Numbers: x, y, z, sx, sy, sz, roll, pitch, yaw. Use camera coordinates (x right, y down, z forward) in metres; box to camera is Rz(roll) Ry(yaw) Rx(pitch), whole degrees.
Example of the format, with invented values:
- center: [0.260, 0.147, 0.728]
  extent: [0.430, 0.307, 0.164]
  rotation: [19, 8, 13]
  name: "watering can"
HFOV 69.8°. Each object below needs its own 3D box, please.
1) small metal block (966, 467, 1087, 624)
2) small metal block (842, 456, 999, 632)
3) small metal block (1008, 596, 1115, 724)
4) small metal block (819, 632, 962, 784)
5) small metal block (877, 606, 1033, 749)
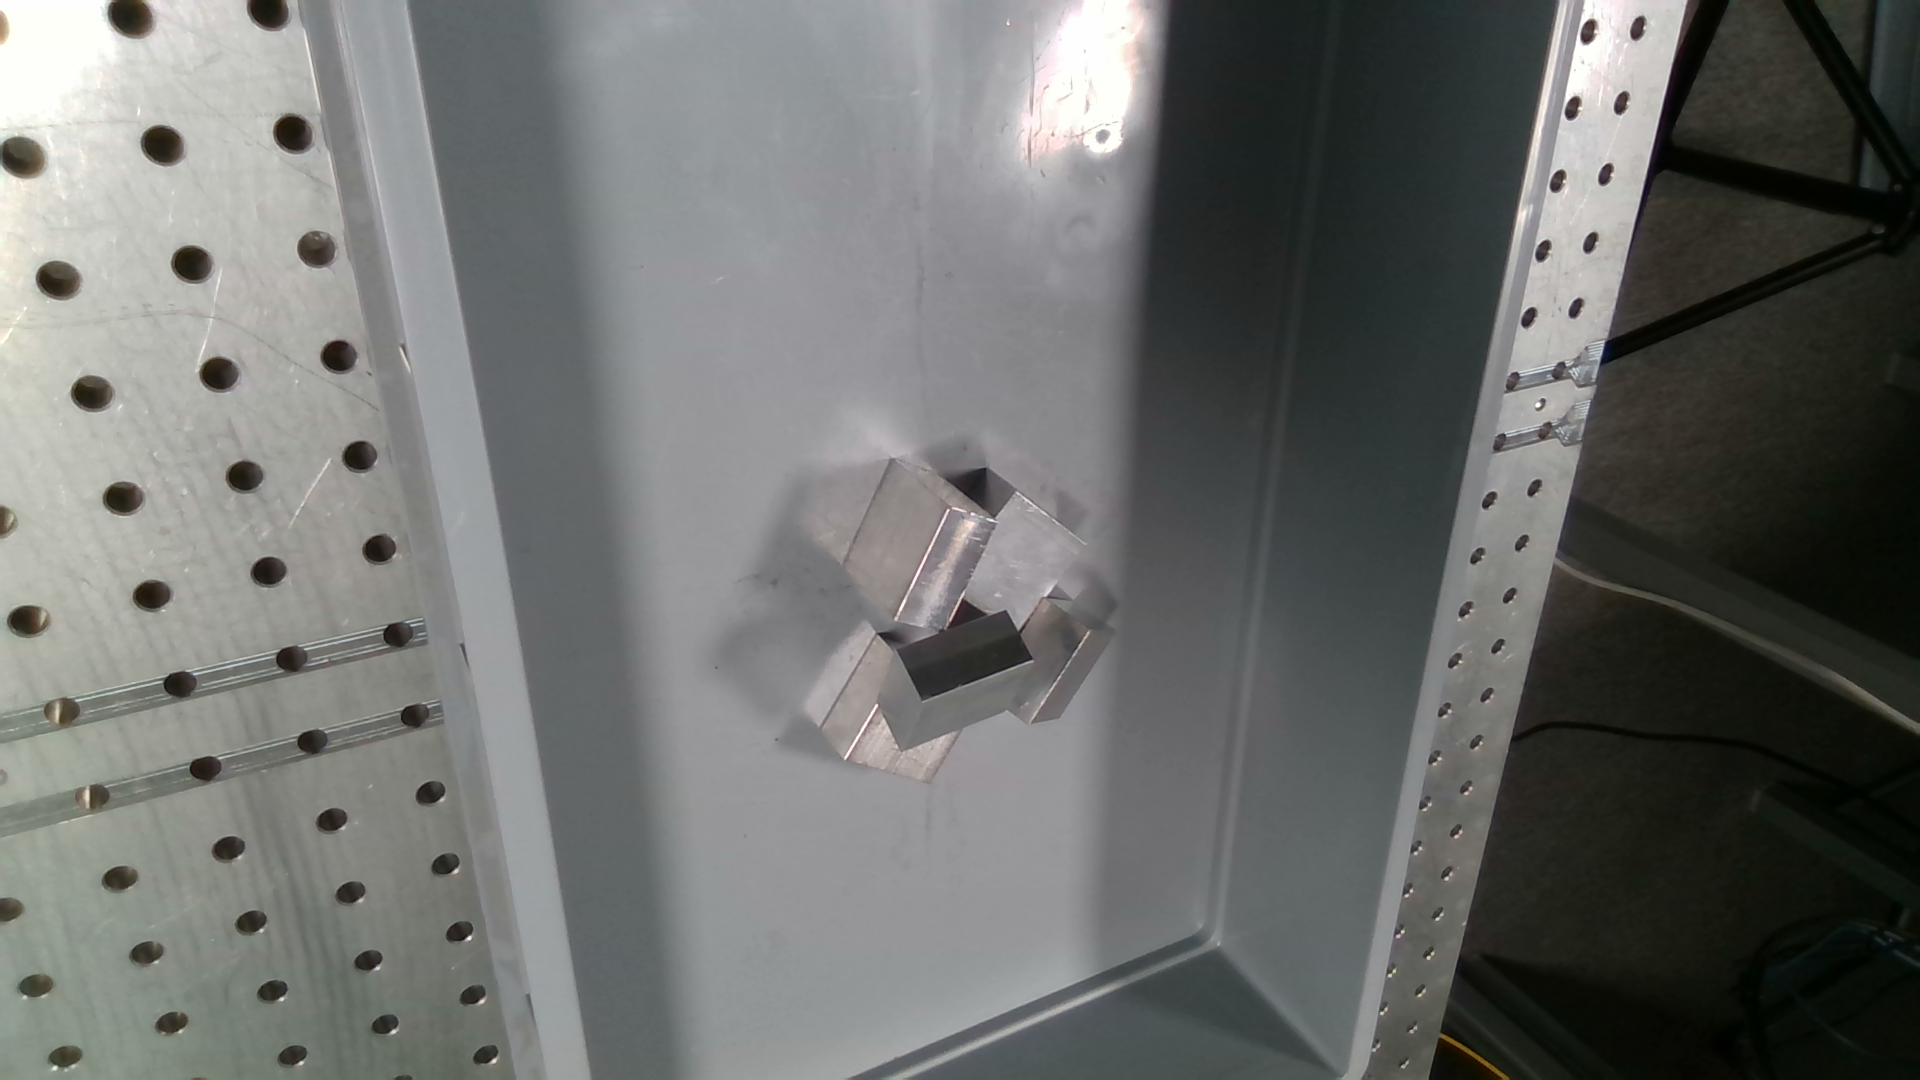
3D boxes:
- center: [0.018, 0.005, 0.591]
  extent: [0.050, 0.025, 0.050]
  rotation: [35, 94, -39]
  name: "small metal block"
- center: [-0.017, 0.001, 0.552]
  extent: [0.025, 0.050, 0.050]
  rotation: [17, 105, -37]
  name: "small metal block"
- center: [0.041, 0.054, 0.619]
  extent: [0.050, 0.025, 0.050]
  rotation: [-58, 162, 8]
  name: "small metal block"
- center: [-0.025, 0.074, 0.604]
  extent: [0.050, 0.025, 0.050]
  rotation: [24, 101, -38]
  name: "small metal block"
- center: [-0.003, 0.057, 0.561]
  extent: [0.050, 0.025, 0.050]
  rotation: [-18, 155, -23]
  name: "small metal block"
